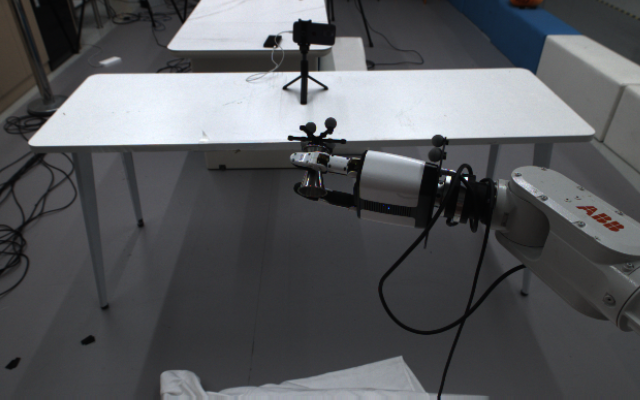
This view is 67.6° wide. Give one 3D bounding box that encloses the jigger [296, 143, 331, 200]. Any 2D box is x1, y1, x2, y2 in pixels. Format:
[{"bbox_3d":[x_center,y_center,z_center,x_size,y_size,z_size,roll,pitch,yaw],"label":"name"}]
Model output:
[{"bbox_3d":[-0.010,-0.044,0.720,0.043,0.043,0.071,4,71,3],"label":"jigger"}]
